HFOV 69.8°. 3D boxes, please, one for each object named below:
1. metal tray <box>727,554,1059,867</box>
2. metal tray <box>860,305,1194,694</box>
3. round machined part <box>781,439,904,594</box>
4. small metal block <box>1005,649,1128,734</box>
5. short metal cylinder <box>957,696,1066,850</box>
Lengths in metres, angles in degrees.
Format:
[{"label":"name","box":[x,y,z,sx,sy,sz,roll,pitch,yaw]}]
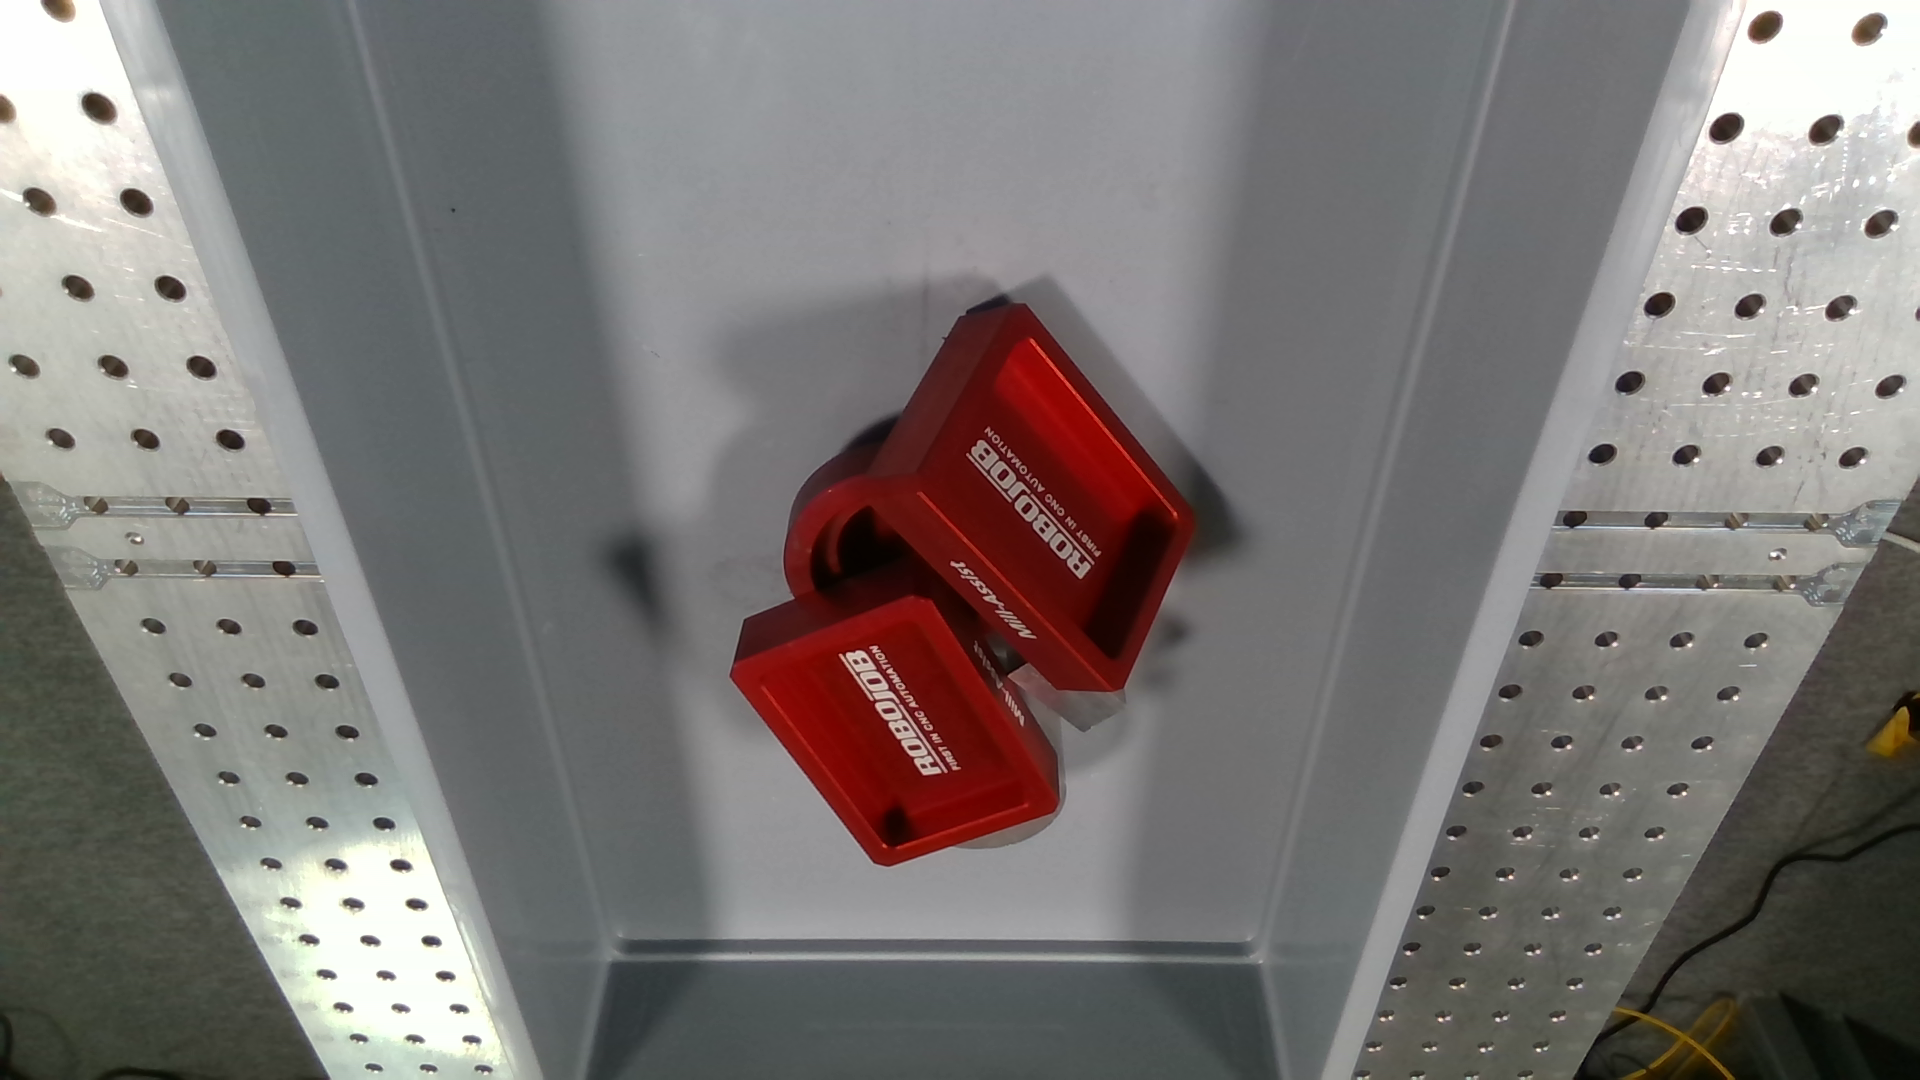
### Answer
[{"label":"metal tray","box":[-0.025,0.074,0.575,0.090,0.030,0.130,-21,122,16]},{"label":"metal tray","box":[0.030,-0.013,0.522,0.030,0.090,0.130,-4,140,47]},{"label":"round machined part","box":[-0.022,-0.003,0.566,0.098,0.042,0.098,0,130,0]},{"label":"small metal block","box":[0.045,0.048,0.601,0.025,0.050,0.050,-36,123,26]},{"label":"short metal cylinder","box":[0.008,0.100,0.644,0.080,0.050,0.080,0,130,0]}]
